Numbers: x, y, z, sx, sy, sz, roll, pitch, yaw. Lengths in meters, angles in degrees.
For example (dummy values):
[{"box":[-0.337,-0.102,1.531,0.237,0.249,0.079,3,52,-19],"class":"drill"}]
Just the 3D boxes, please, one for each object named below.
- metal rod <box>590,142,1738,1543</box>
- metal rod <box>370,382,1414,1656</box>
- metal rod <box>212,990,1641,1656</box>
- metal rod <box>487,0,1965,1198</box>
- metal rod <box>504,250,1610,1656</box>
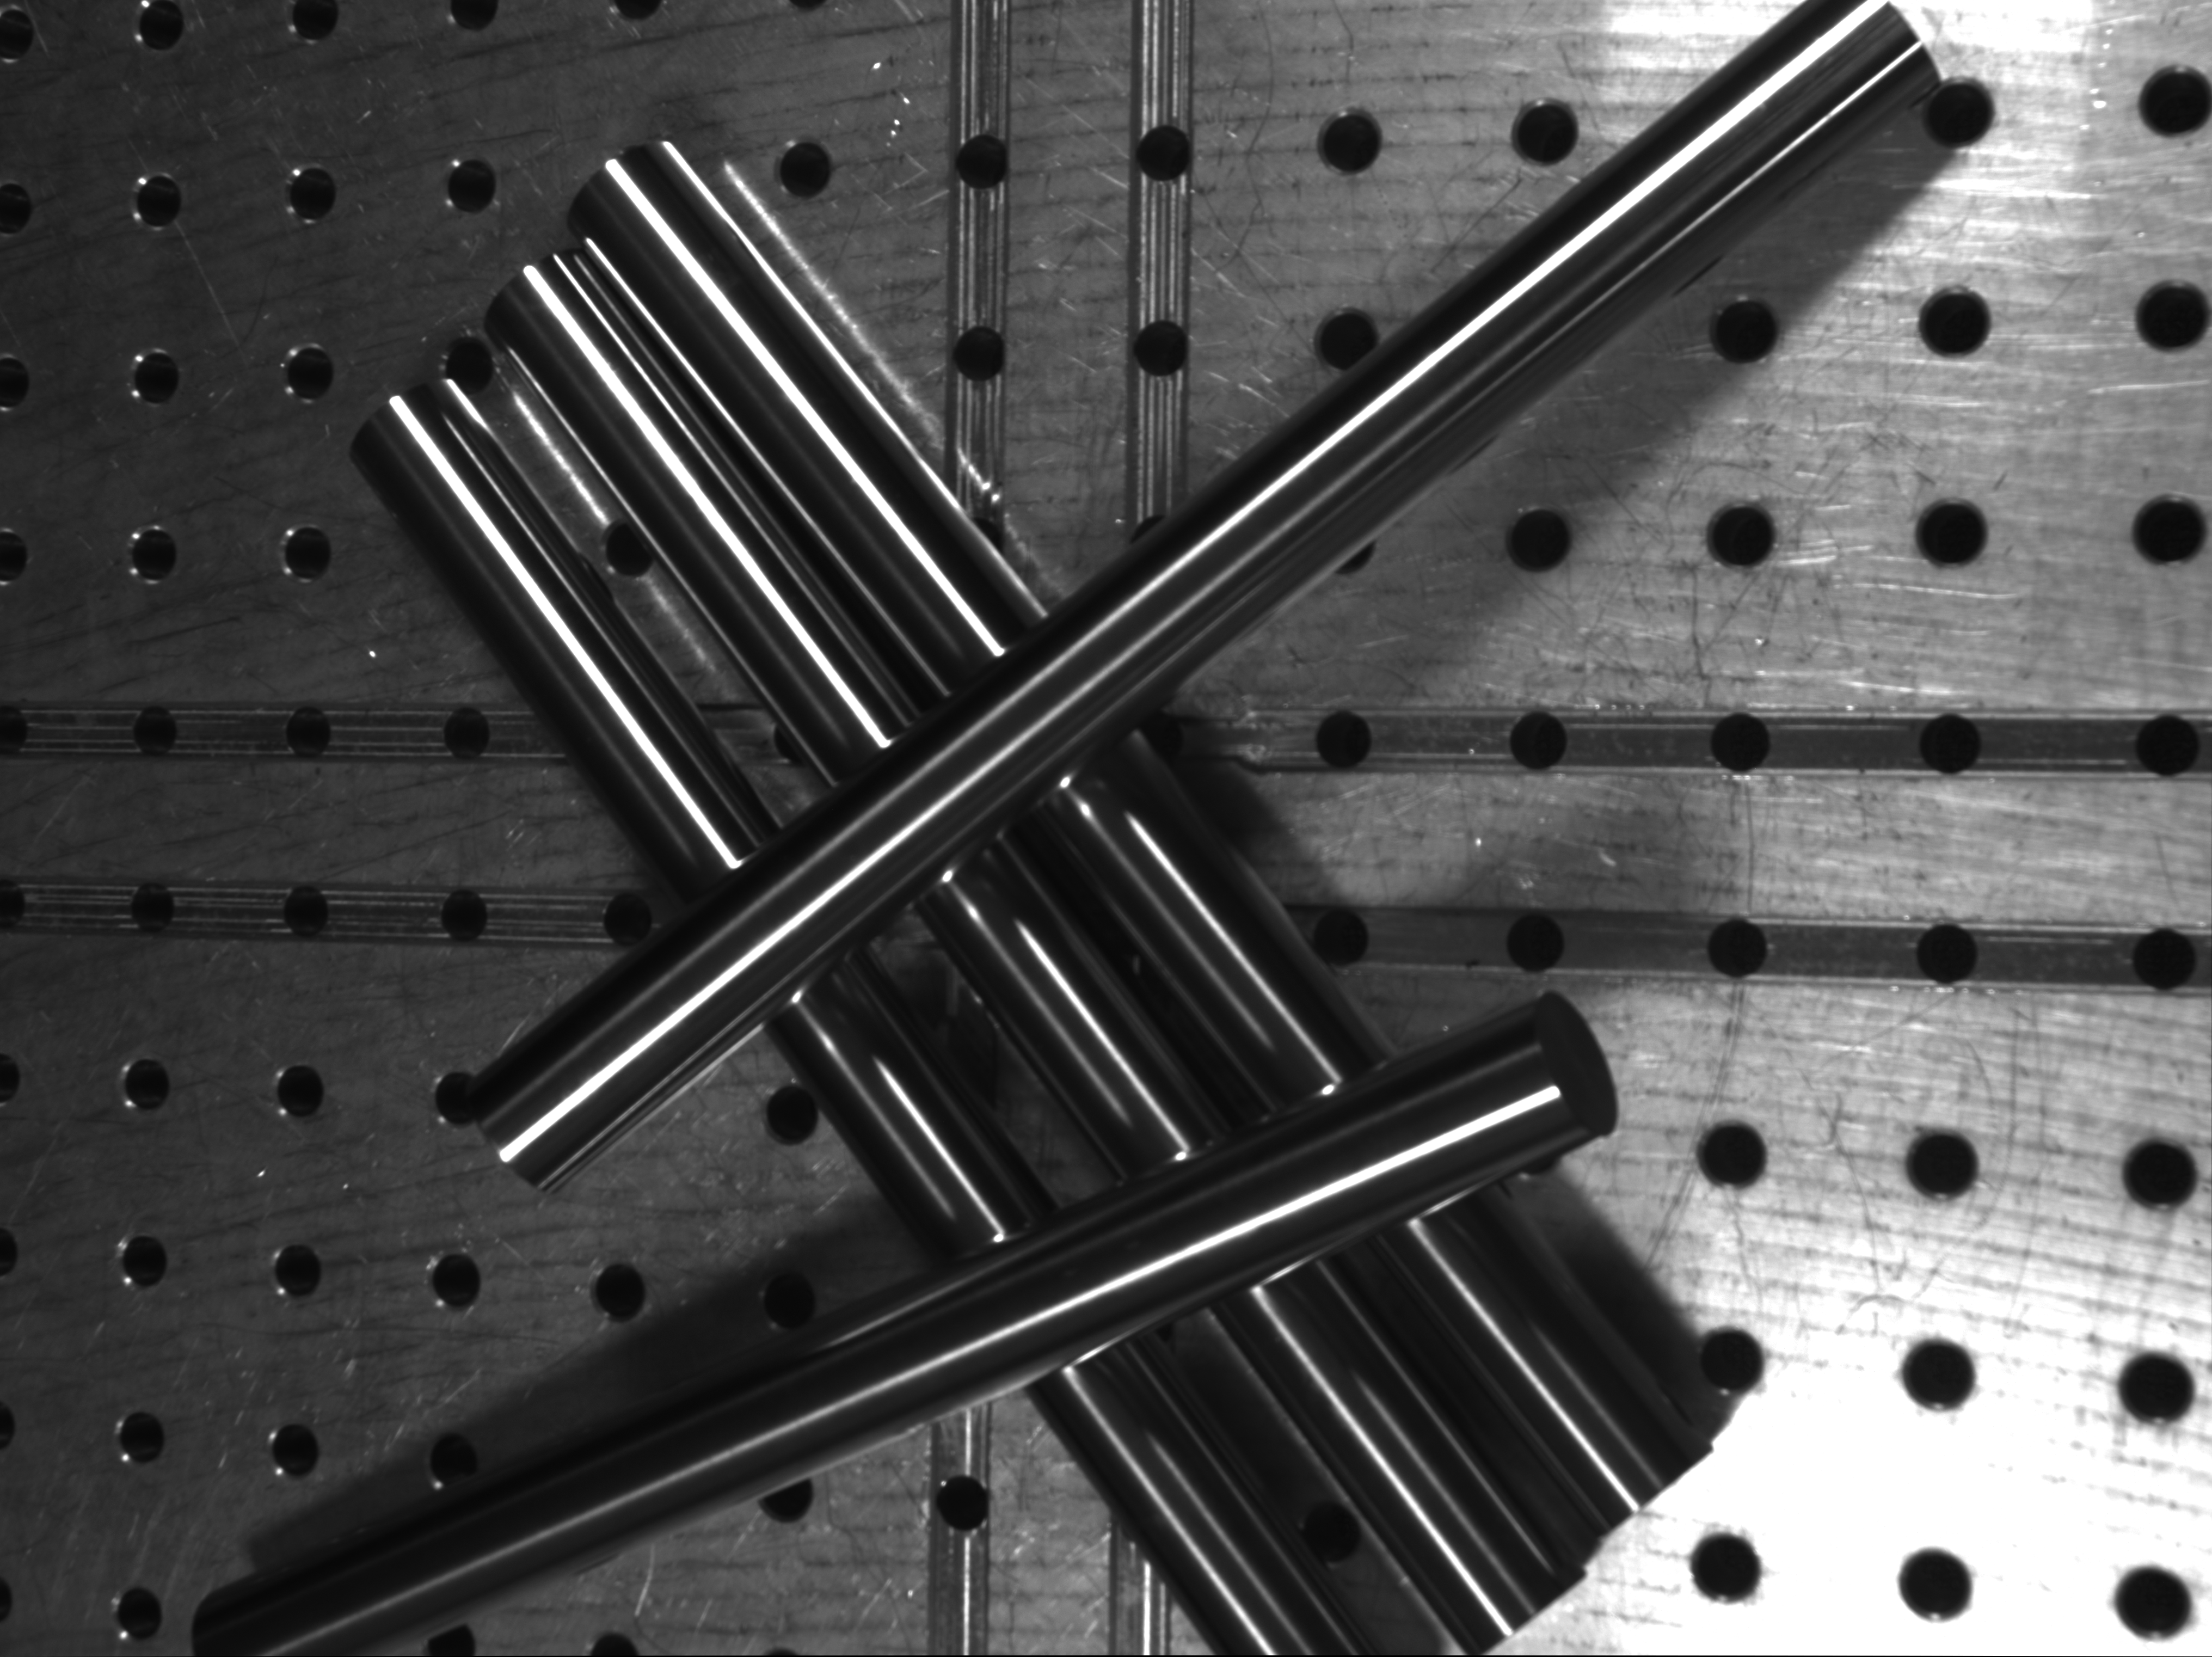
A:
[{"box":[0.006,-0.003,0.645,0.025,0.025,0.300,-42,77,15],"class":"metal rod"},{"box":[-0.040,0.041,0.661,0.025,0.025,0.300,-41,77,15],"class":"metal rod"},{"box":[-0.043,0.098,0.640,0.299,0.025,0.025,-27,81,26],"class":"metal rod"},{"box":[0.017,-0.039,0.619,0.300,0.025,0.025,-39,78,7],"class":"metal rod"},{"box":[-0.013,0.017,0.651,0.025,0.025,0.300,-41,77,15],"class":"metal rod"}]
